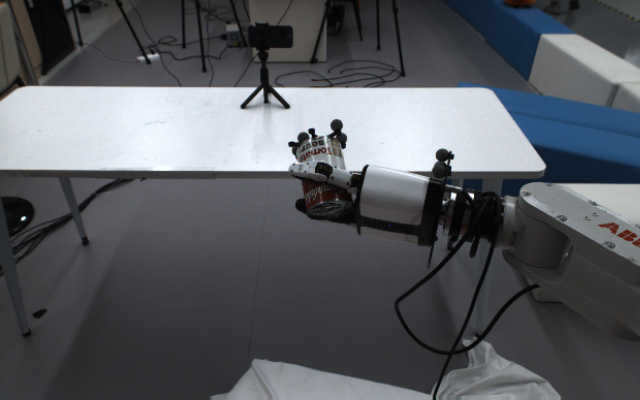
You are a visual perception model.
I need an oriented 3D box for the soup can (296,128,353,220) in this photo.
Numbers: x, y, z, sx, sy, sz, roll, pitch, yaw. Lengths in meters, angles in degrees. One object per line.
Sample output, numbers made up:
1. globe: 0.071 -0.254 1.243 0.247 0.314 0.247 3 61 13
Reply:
1. soup can: 0.007 -0.030 0.687 0.067 0.067 0.101 -6 67 -12
